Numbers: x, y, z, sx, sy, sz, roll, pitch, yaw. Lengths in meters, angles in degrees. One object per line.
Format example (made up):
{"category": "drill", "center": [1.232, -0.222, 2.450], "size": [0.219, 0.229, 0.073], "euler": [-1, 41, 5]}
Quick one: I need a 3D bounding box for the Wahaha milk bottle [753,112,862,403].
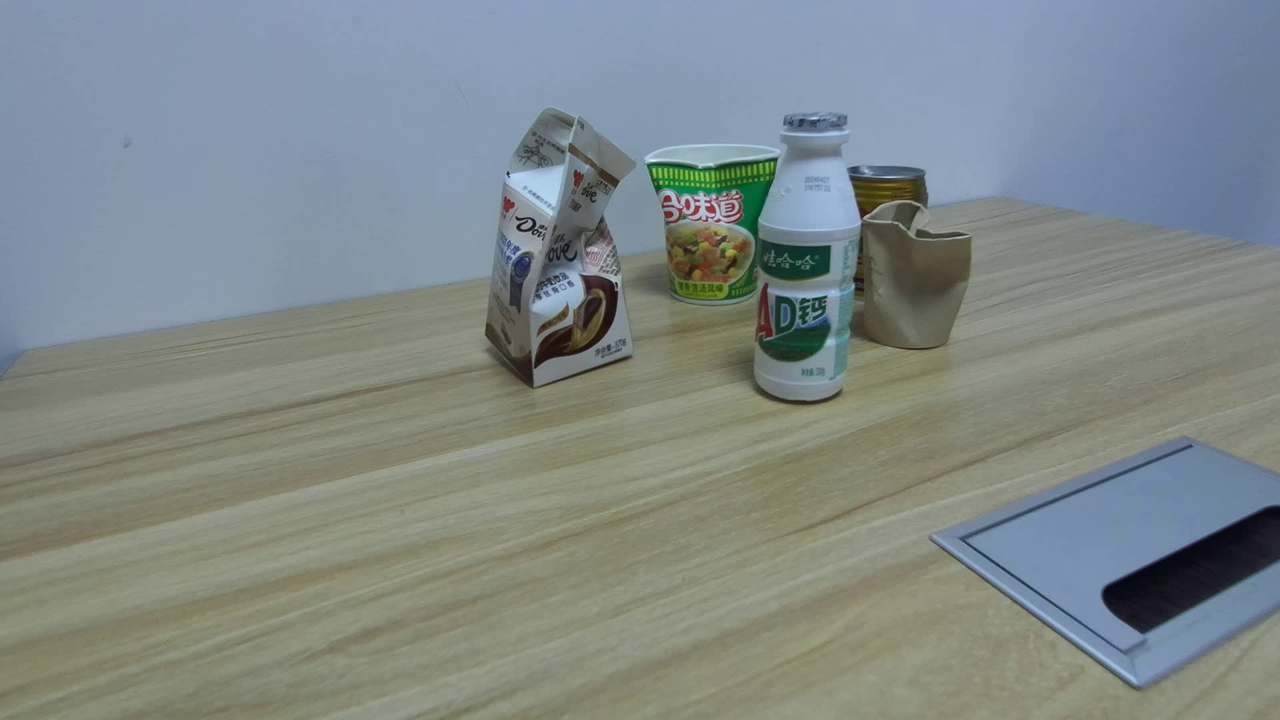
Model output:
{"category": "Wahaha milk bottle", "center": [0.087, -0.052, 0.373], "size": [0.053, 0.147, 0.053], "euler": [-2, 22, 1]}

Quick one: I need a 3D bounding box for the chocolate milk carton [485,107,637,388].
{"category": "chocolate milk carton", "center": [-0.044, -0.068, 0.432], "size": [0.090, 0.155, 0.076], "euler": [-4, 23, -40]}

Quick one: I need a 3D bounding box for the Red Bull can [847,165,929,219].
{"category": "Red Bull can", "center": [0.183, -0.101, 0.547], "size": [0.068, 0.093, 0.068], "euler": [-2, 25, 1]}

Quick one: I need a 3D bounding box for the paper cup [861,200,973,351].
{"category": "paper cup", "center": [0.176, -0.052, 0.447], "size": [0.058, 0.083, 0.067], "euler": [17, 32, 30]}

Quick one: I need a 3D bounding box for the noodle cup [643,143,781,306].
{"category": "noodle cup", "center": [0.059, -0.105, 0.541], "size": [0.093, 0.109, 0.087], "euler": [8, 26, 23]}
